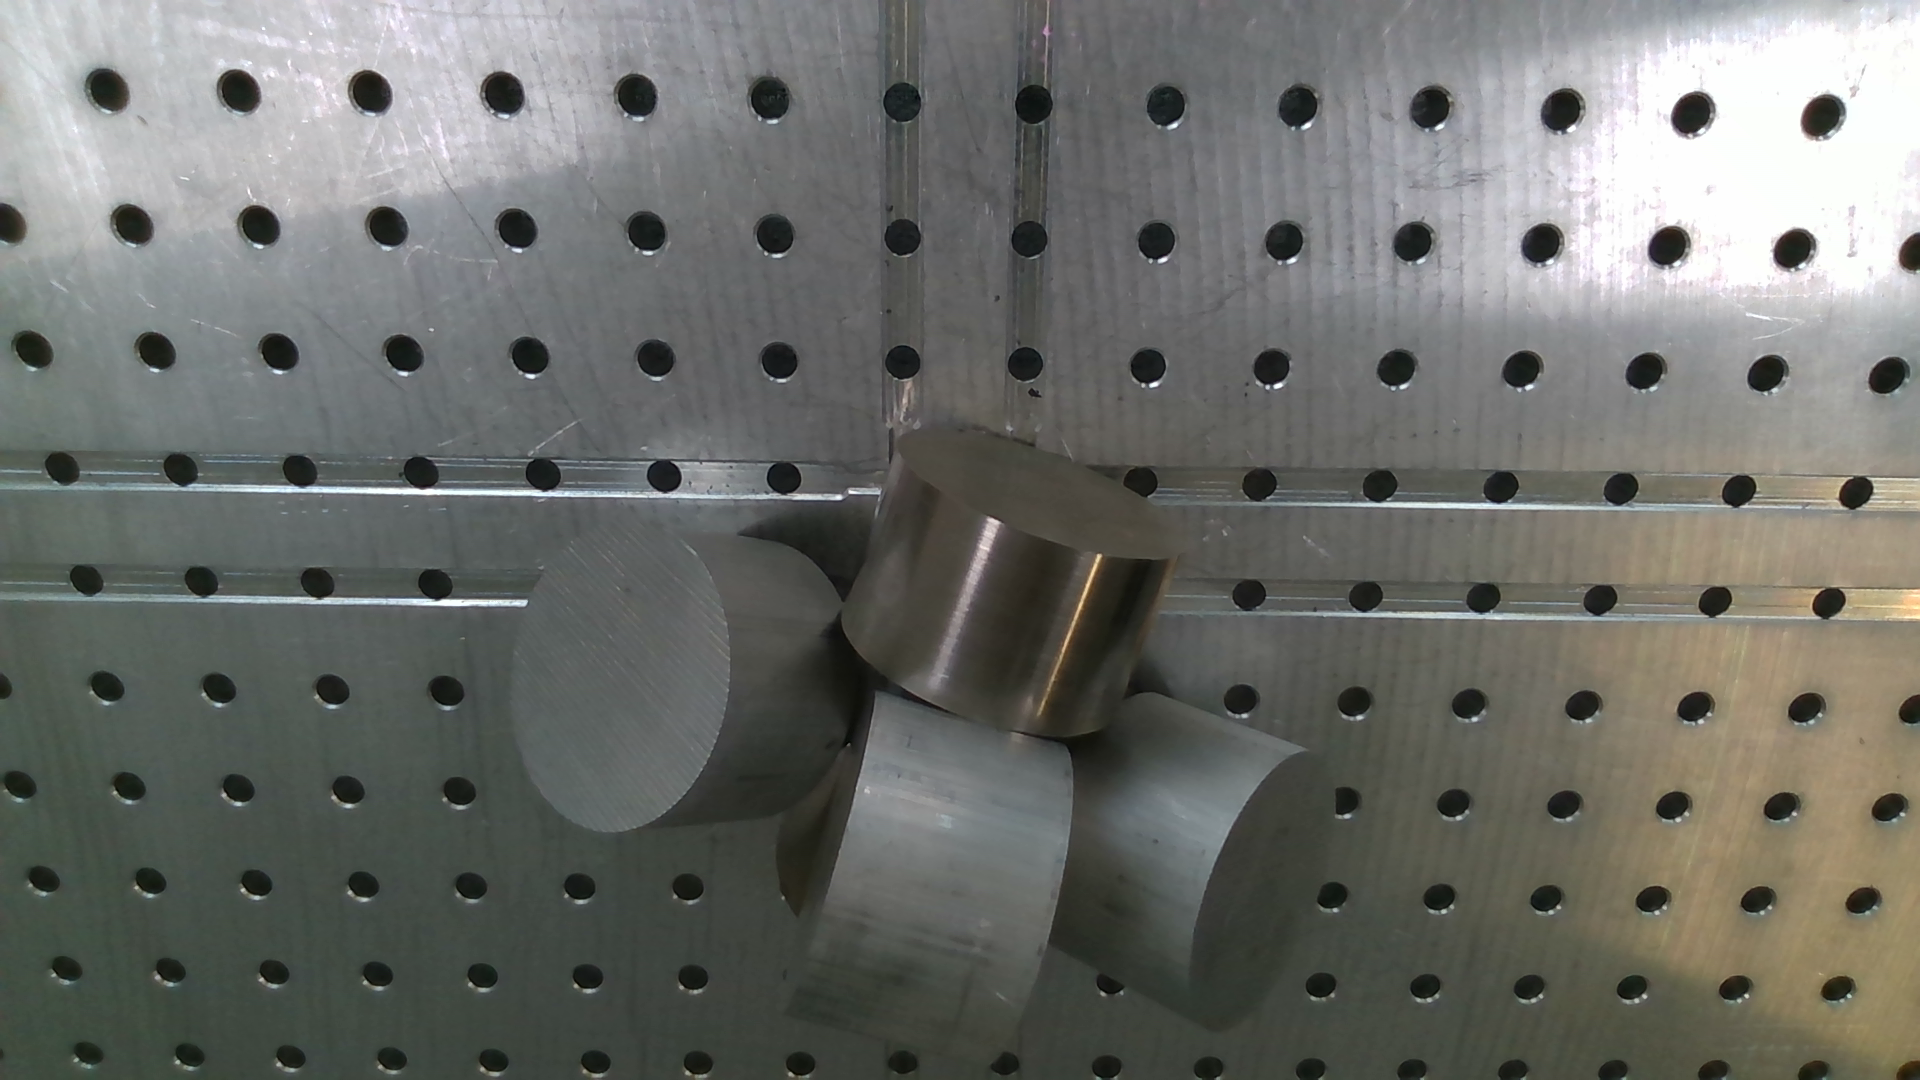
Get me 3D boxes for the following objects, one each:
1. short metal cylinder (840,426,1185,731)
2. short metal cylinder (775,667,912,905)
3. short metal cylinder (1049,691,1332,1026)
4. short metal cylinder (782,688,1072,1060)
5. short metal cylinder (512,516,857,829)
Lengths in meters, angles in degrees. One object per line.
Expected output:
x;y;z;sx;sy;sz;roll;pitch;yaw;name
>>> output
0.013;0.008;0.369;0.080;0.080;0.050;18;109;-6;short metal cylinder
-0.012;0.080;0.411;0.080;0.050;0.080;0;110;-1;short metal cylinder
0.064;0.089;0.392;0.050;0.080;0.080;18;115;36;short metal cylinder
-0.009;0.082;0.343;0.050;0.080;0.080;16;109;-6;short metal cylinder
-0.075;0.036;0.374;0.080;0.050;0.080;-5;81;33;short metal cylinder
